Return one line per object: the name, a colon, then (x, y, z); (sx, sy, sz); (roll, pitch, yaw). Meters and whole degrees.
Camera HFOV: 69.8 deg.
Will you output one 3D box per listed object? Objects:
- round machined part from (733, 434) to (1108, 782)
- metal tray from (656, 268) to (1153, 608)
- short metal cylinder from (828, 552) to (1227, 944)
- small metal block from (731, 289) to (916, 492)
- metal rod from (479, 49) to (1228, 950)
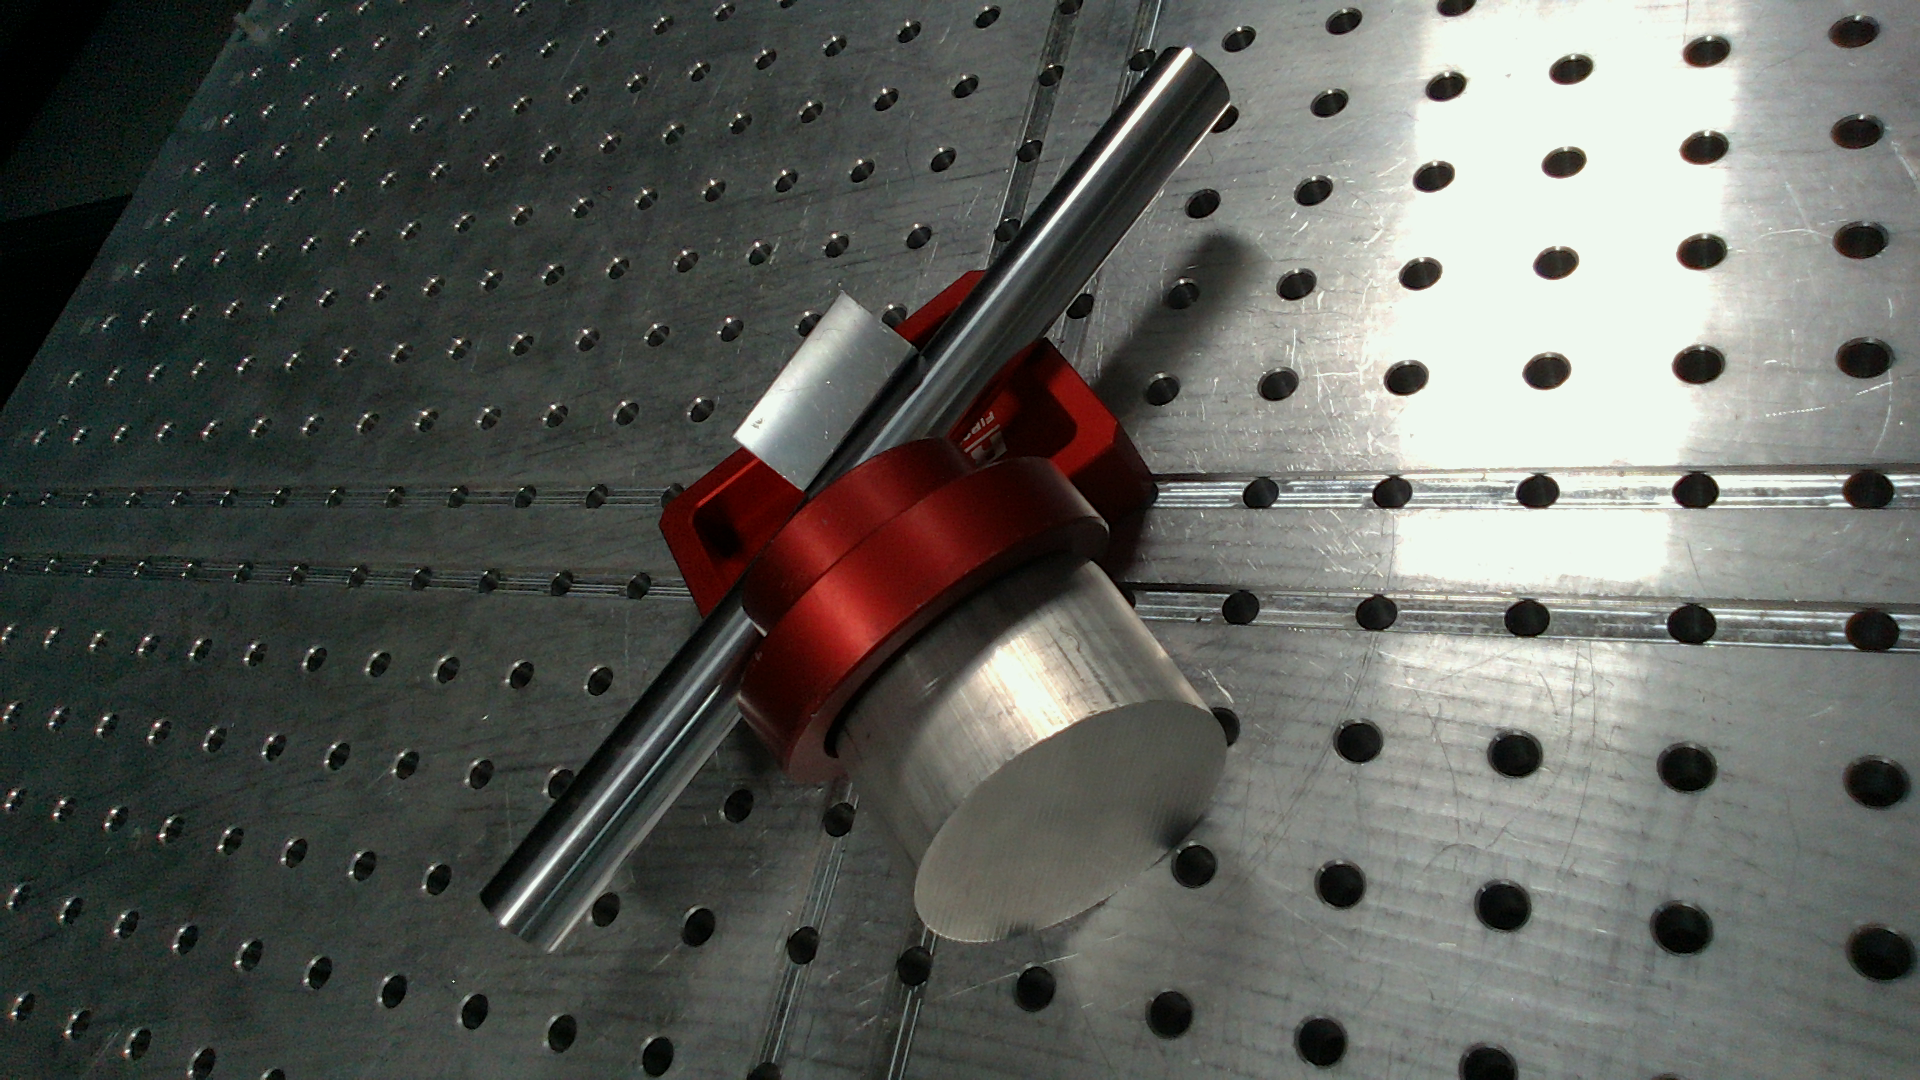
round machined part: (-0.014, 0.012, 0.336); (0.098, 0.098, 0.042); (-40, 72, 1)
metal tray: (-0.020, -0.012, 0.411); (0.130, 0.030, 0.090); (-37, 51, 3)
short metal cylinder: (0.015, 0.048, 0.322); (0.080, 0.080, 0.050); (-38, 51, 3)
small metal block: (-0.036, -0.041, 0.397); (0.025, 0.050, 0.050); (38, 93, 1)
metal rod: (-0.023, -0.018, 0.381); (0.025, 0.025, 0.300); (31, 79, 38)
